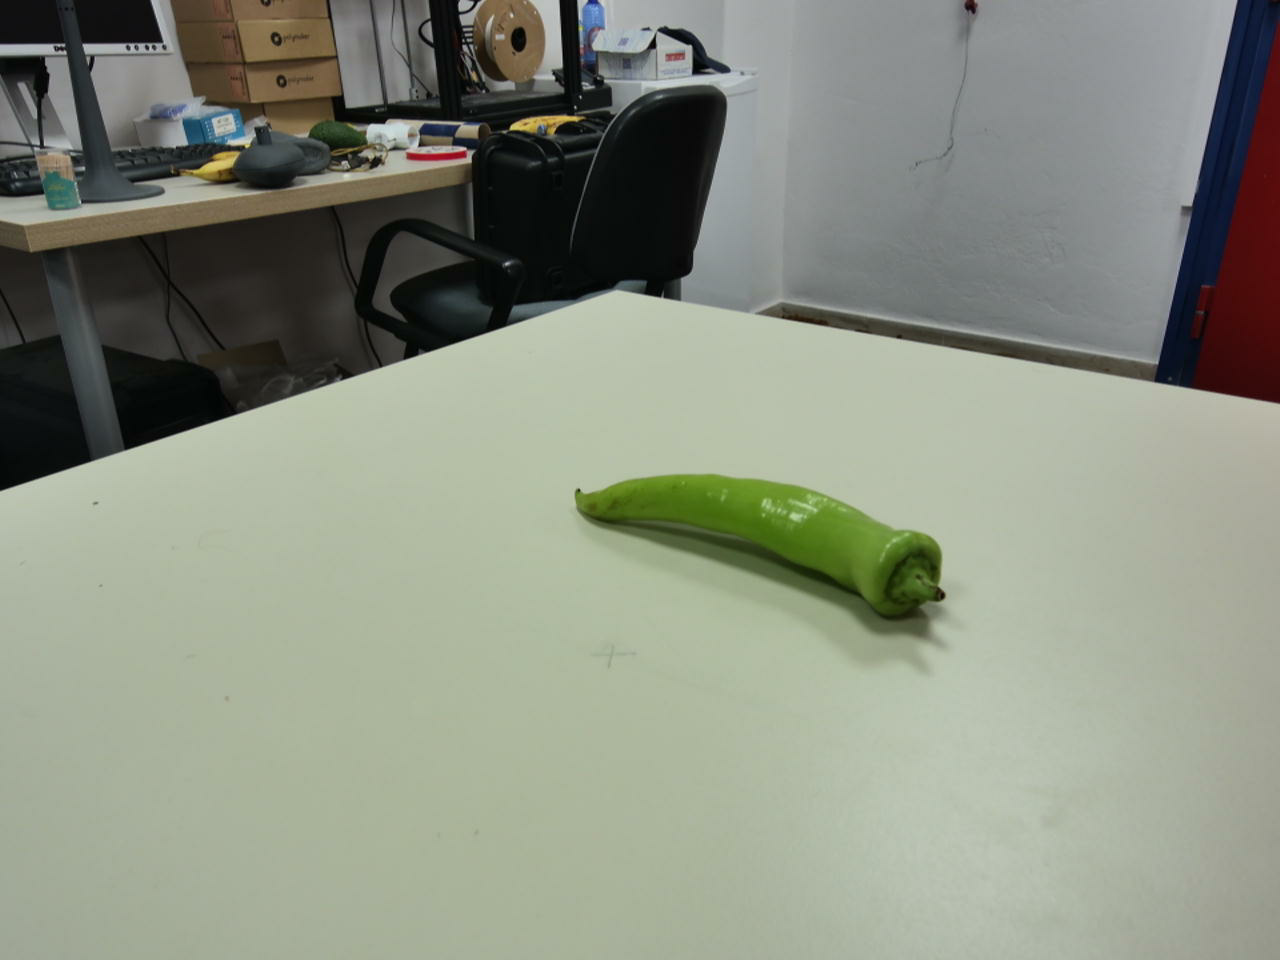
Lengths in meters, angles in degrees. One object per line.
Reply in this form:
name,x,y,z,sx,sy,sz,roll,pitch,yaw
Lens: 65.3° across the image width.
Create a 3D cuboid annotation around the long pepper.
long pepper,0.049,0.017,0.444,0.197,0.038,0.046,19,29,37
